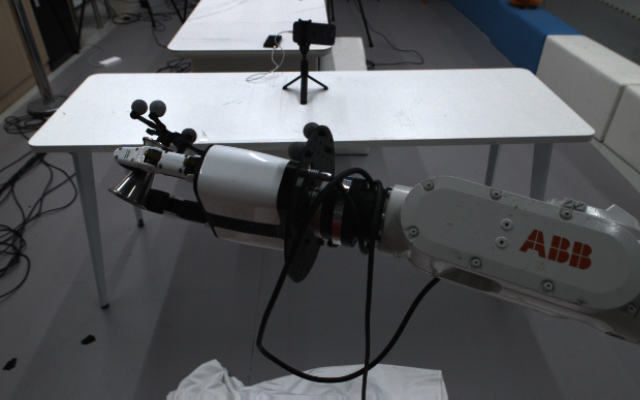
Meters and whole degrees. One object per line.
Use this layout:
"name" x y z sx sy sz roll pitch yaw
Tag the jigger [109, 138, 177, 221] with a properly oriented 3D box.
"jigger" -0.191 -0.031 0.523 0.043 0.043 0.071 20 74 24
